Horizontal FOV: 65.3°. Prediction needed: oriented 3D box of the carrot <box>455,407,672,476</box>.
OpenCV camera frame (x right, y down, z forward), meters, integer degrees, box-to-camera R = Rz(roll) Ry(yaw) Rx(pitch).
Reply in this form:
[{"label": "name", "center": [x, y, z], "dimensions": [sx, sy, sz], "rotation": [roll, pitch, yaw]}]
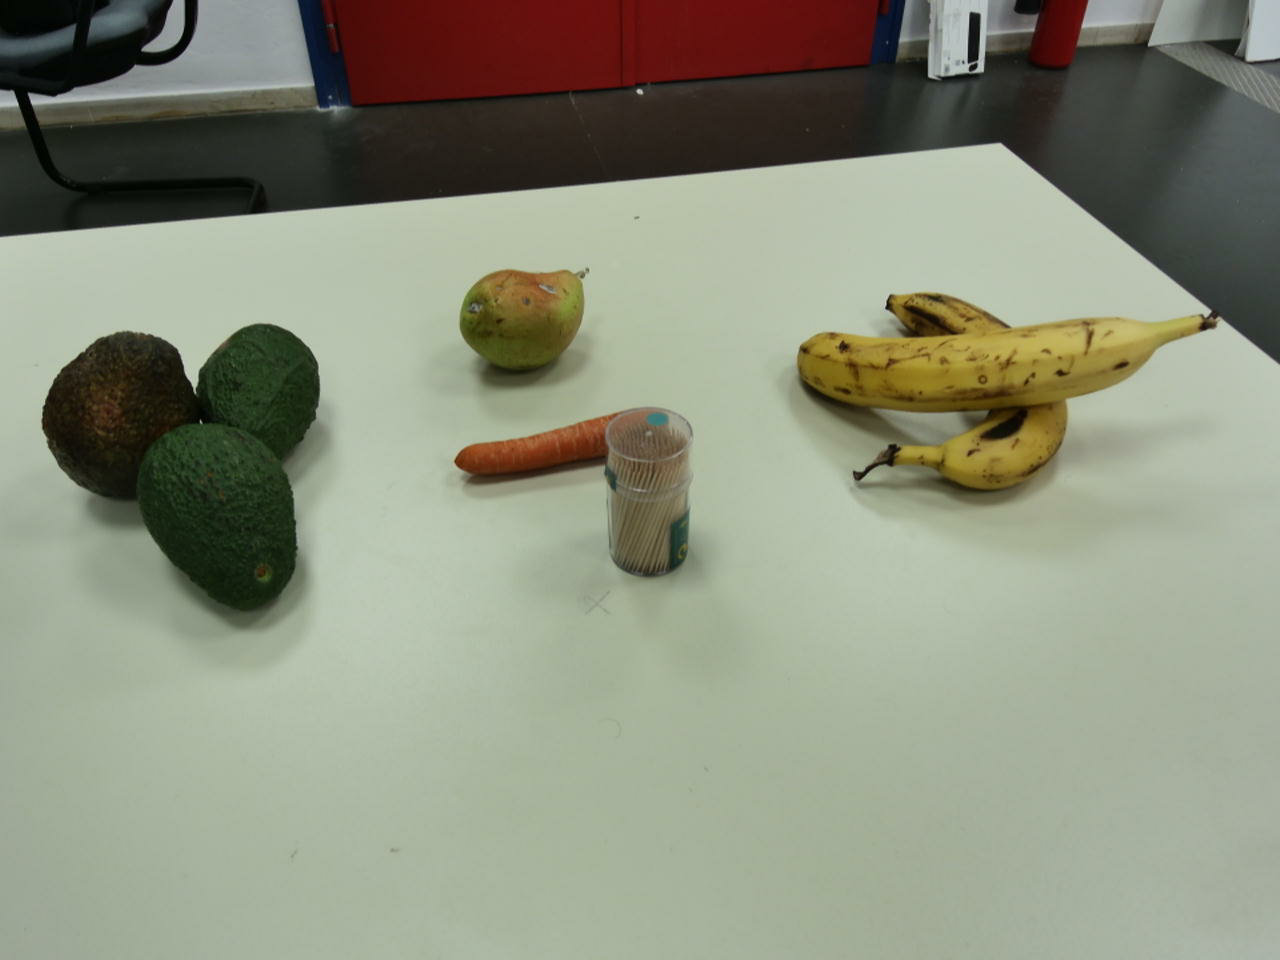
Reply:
[{"label": "carrot", "center": [-0.040, -0.021, 0.551], "dimensions": [0.122, 0.023, 0.024], "rotation": [-10, 40, -12]}]
